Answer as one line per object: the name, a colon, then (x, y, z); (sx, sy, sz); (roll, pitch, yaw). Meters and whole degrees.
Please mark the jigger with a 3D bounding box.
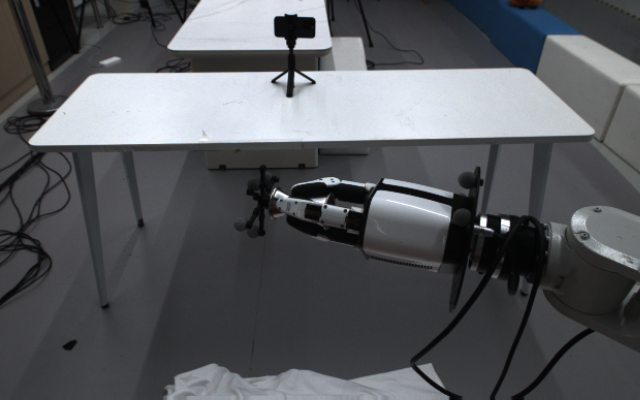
jigger: (-0.014, 0.005, 0.565); (0.071, 0.043, 0.043); (8, 35, 16)
